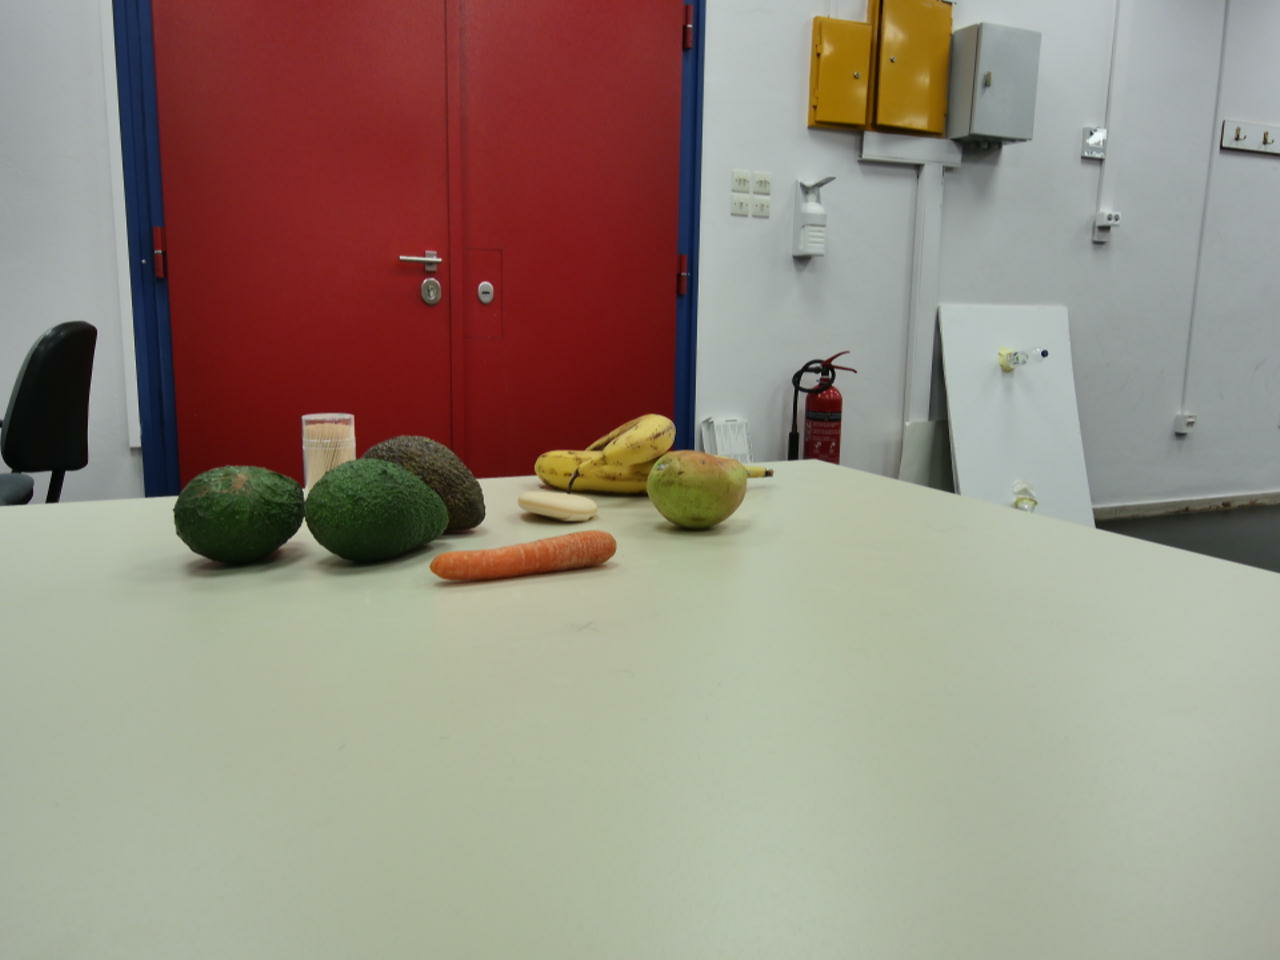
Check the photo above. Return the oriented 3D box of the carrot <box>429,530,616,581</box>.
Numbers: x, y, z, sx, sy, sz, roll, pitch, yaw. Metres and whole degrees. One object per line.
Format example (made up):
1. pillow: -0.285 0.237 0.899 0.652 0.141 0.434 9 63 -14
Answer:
1. carrot: -0.070 0.047 0.621 0.122 0.023 0.024 -4 9 -27
